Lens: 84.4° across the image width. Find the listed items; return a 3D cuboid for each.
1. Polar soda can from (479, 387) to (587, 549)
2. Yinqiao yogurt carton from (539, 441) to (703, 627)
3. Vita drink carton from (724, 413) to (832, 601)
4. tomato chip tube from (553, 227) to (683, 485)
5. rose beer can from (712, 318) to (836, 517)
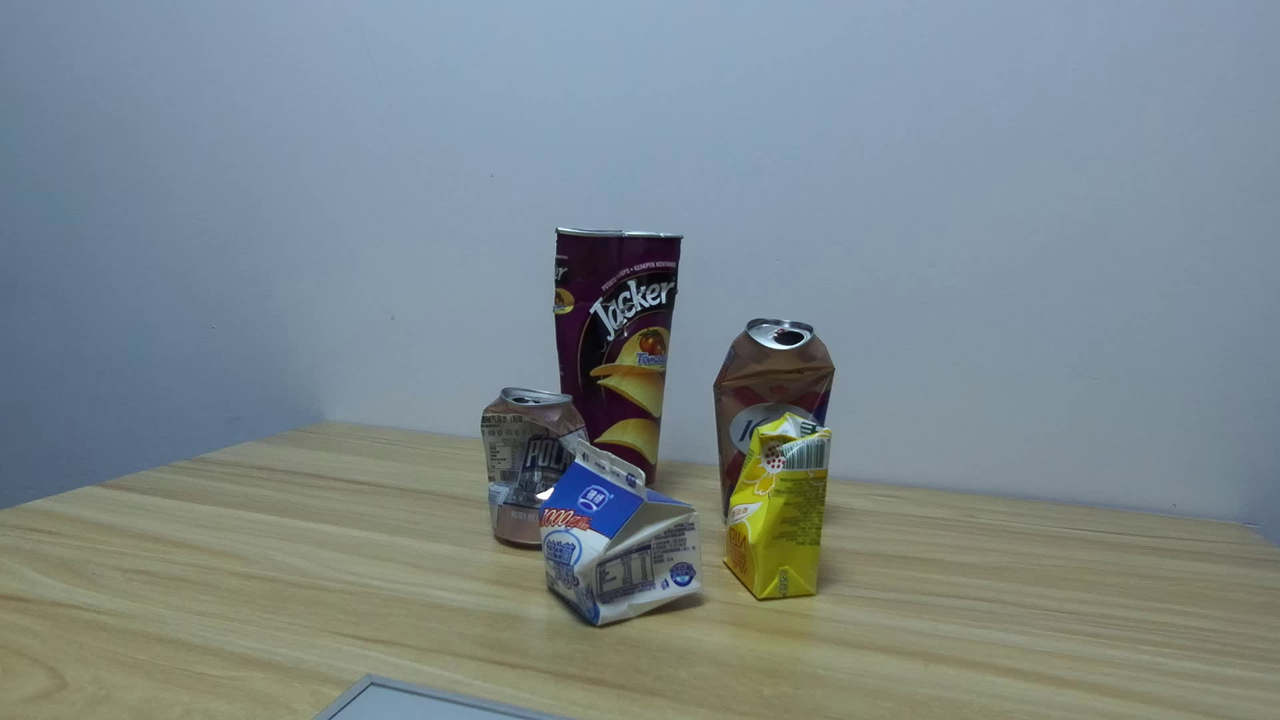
[{"bbox_3d":[-0.076,0.079,0.528,0.074,0.114,0.070,-6,17,-25],"label":"Polar soda can"},{"bbox_3d":[-0.016,0.101,0.429,0.080,0.097,0.074,-13,14,-34],"label":"Yinqiao yogurt carton"},{"bbox_3d":[0.088,0.093,0.467,0.046,0.109,0.071,2,7,-14],"label":"Vita drink carton"},{"bbox_3d":[-0.022,0.009,0.602,0.090,0.235,0.078,6,10,16],"label":"tomato chip tube"},{"bbox_3d":[0.103,0.053,0.559,0.069,0.168,0.069,-8,18,-35],"label":"rose beer can"}]
